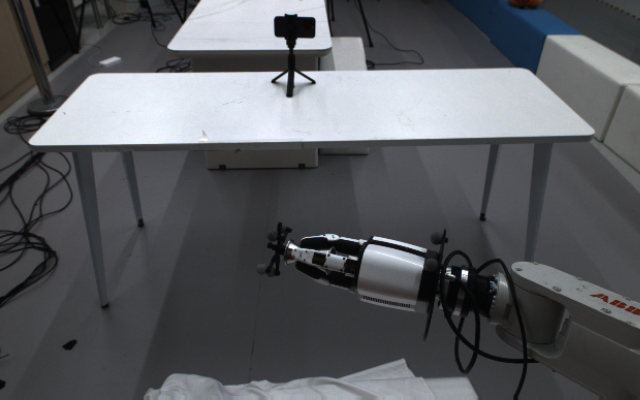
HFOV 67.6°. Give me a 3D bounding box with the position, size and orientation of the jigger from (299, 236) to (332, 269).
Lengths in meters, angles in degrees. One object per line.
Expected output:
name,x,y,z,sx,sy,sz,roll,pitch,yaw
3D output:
jigger,-0.009,0.080,0.722,0.071,0.043,0.043,10,35,16
